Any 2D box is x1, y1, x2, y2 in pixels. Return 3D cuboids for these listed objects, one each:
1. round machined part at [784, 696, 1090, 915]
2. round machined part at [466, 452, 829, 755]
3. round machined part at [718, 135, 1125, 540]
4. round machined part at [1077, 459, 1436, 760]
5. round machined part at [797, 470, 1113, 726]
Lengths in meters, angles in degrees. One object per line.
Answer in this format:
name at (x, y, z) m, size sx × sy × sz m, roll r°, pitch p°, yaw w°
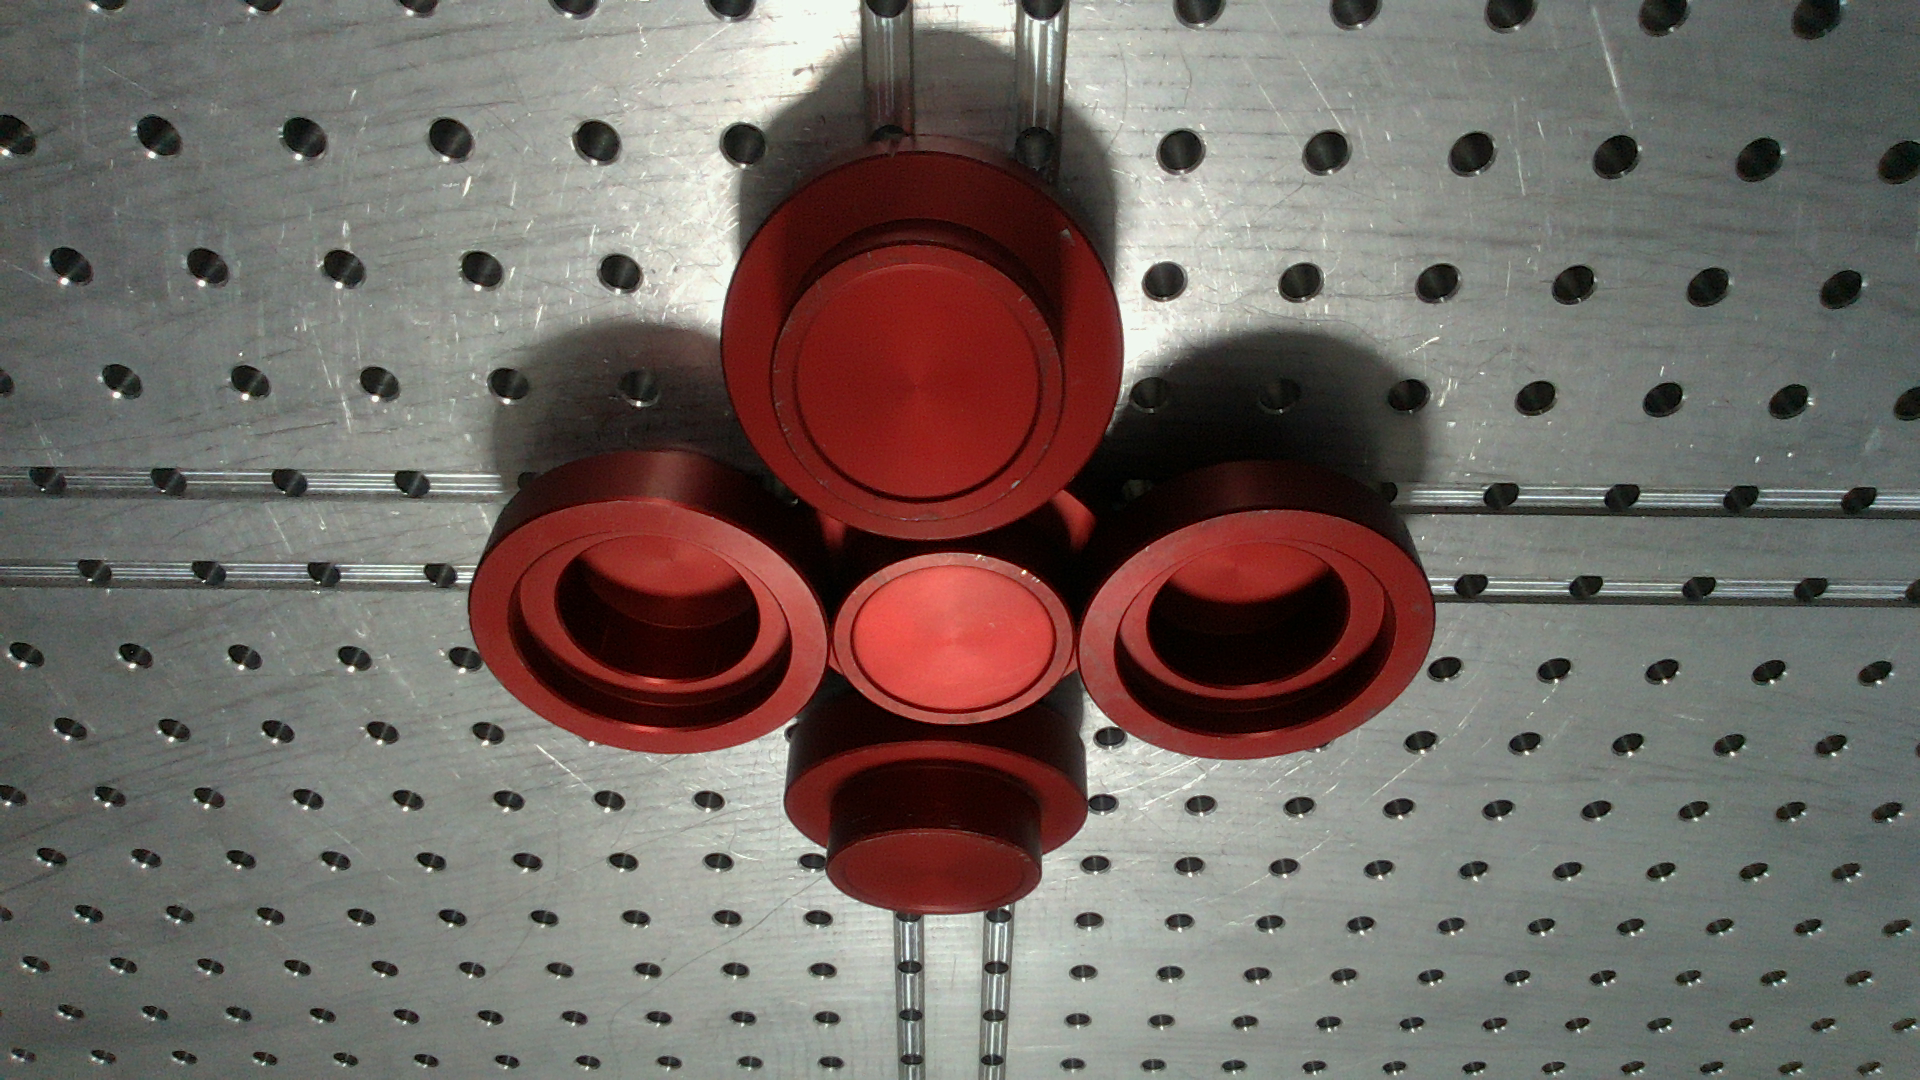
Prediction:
round machined part at (-0.007, 0.088, 0.442) m, size 0.098 × 0.042 × 0.098 m, roll 0°, pitch 145°, yaw 0°
round machined part at (-0.085, 0.014, 0.393) m, size 0.098 × 0.042 × 0.098 m, roll 0°, pitch 130°, yaw 0°
round machined part at (-0.009, -0.044, 0.331) m, size 0.098 × 0.042 × 0.098 m, roll 1°, pitch 116°, yaw 1°
round machined part at (0.081, 0.015, 0.395) m, size 0.098 × 0.042 × 0.098 m, roll 0°, pitch 130°, yaw 0°
round machined part at (-0.002, 0.015, 0.394) m, size 0.098 × 0.042 × 0.098 m, roll 0°, pitch 130°, yaw 0°
